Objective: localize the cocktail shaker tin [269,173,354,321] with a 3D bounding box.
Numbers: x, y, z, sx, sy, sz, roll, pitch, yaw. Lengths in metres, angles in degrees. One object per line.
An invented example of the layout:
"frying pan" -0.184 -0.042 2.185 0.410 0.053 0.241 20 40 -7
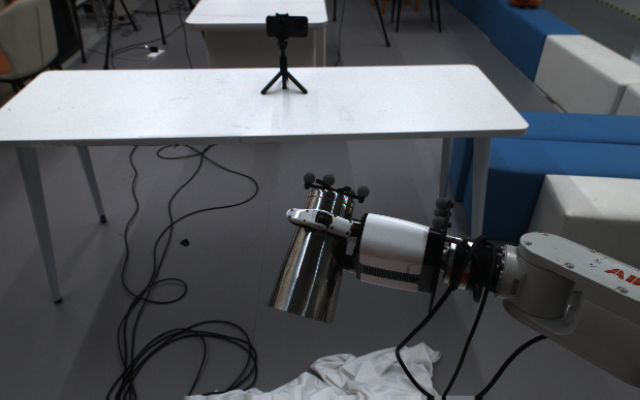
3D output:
"cocktail shaker tin" -0.002 0.072 0.670 0.093 0.093 0.170 13 77 15
